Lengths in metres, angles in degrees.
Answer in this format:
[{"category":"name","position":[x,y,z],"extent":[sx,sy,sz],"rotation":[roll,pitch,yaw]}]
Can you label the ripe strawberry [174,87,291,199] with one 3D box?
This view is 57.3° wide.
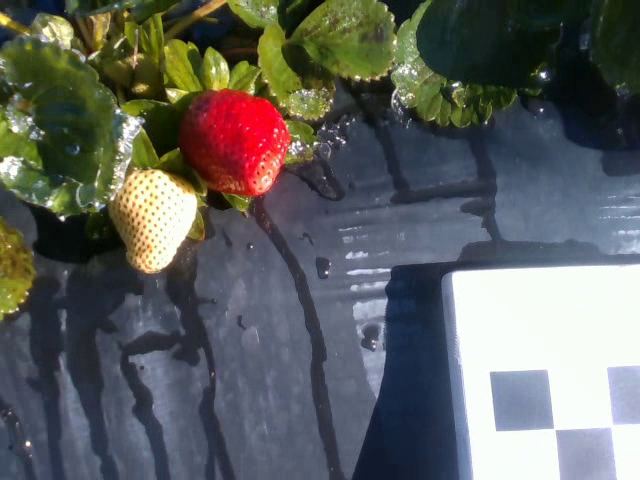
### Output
[{"category":"ripe strawberry","position":[-0.028,-0.031,0.229],"extent":[0.042,0.046,0.061],"rotation":[-17,42,-3]}]
